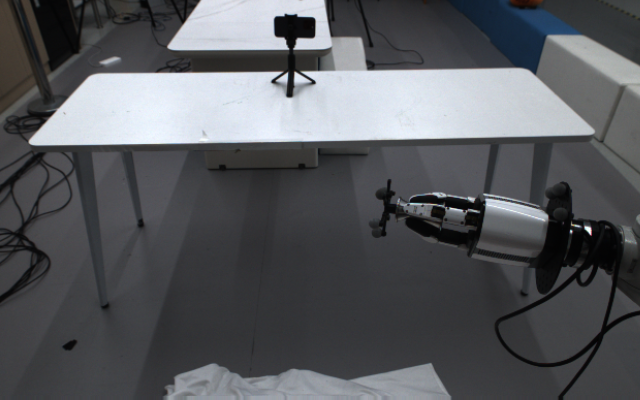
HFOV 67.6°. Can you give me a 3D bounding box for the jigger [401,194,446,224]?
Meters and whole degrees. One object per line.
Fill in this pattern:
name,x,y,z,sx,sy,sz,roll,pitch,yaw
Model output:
jigger,0.156,0.015,0.721,0.071,0.043,0.043,8,35,15
